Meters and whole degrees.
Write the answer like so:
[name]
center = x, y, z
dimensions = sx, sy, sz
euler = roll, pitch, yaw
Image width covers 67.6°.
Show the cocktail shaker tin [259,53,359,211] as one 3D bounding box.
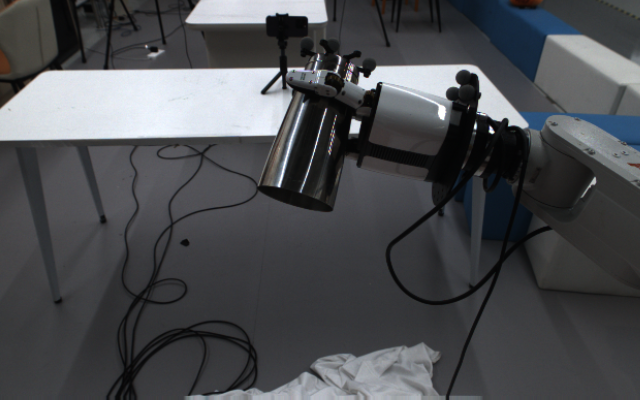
[cocktail shaker tin]
center = -0.003, -0.083, 0.572
dimensions = 0.093, 0.093, 0.170
euler = 13, 79, 15
